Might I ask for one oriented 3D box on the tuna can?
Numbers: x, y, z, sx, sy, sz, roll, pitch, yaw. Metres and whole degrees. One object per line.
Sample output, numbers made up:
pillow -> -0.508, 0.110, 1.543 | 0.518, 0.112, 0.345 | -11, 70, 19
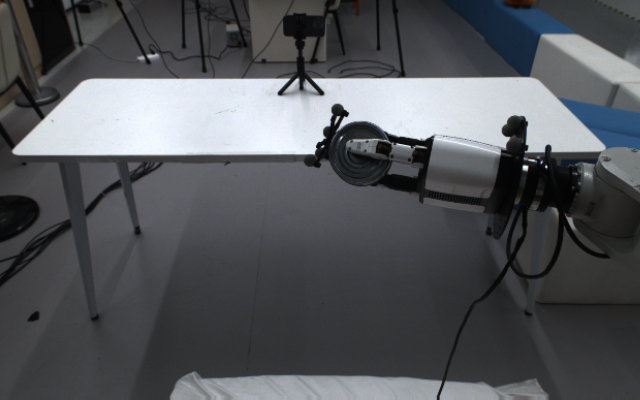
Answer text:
tuna can -> 0.057, -0.064, 0.659 | 0.085, 0.085, 0.034 | 9, -5, 10
